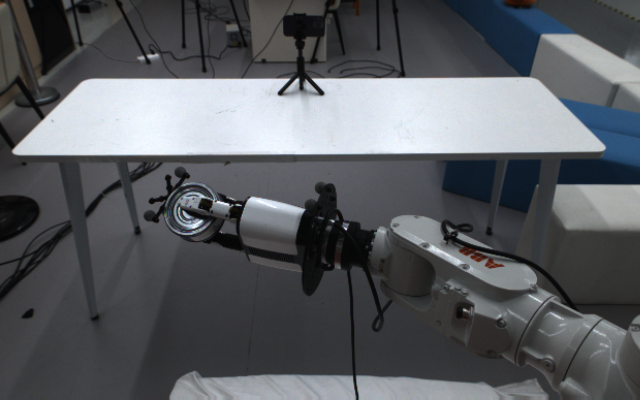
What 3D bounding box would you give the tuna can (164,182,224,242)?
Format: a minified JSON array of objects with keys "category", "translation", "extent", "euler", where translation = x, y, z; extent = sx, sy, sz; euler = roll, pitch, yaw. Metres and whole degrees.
[{"category":"tuna can","translation":[-0.183,0.019,0.719],"extent":[0.085,0.034,0.085],"euler":[-1,74,5]}]
